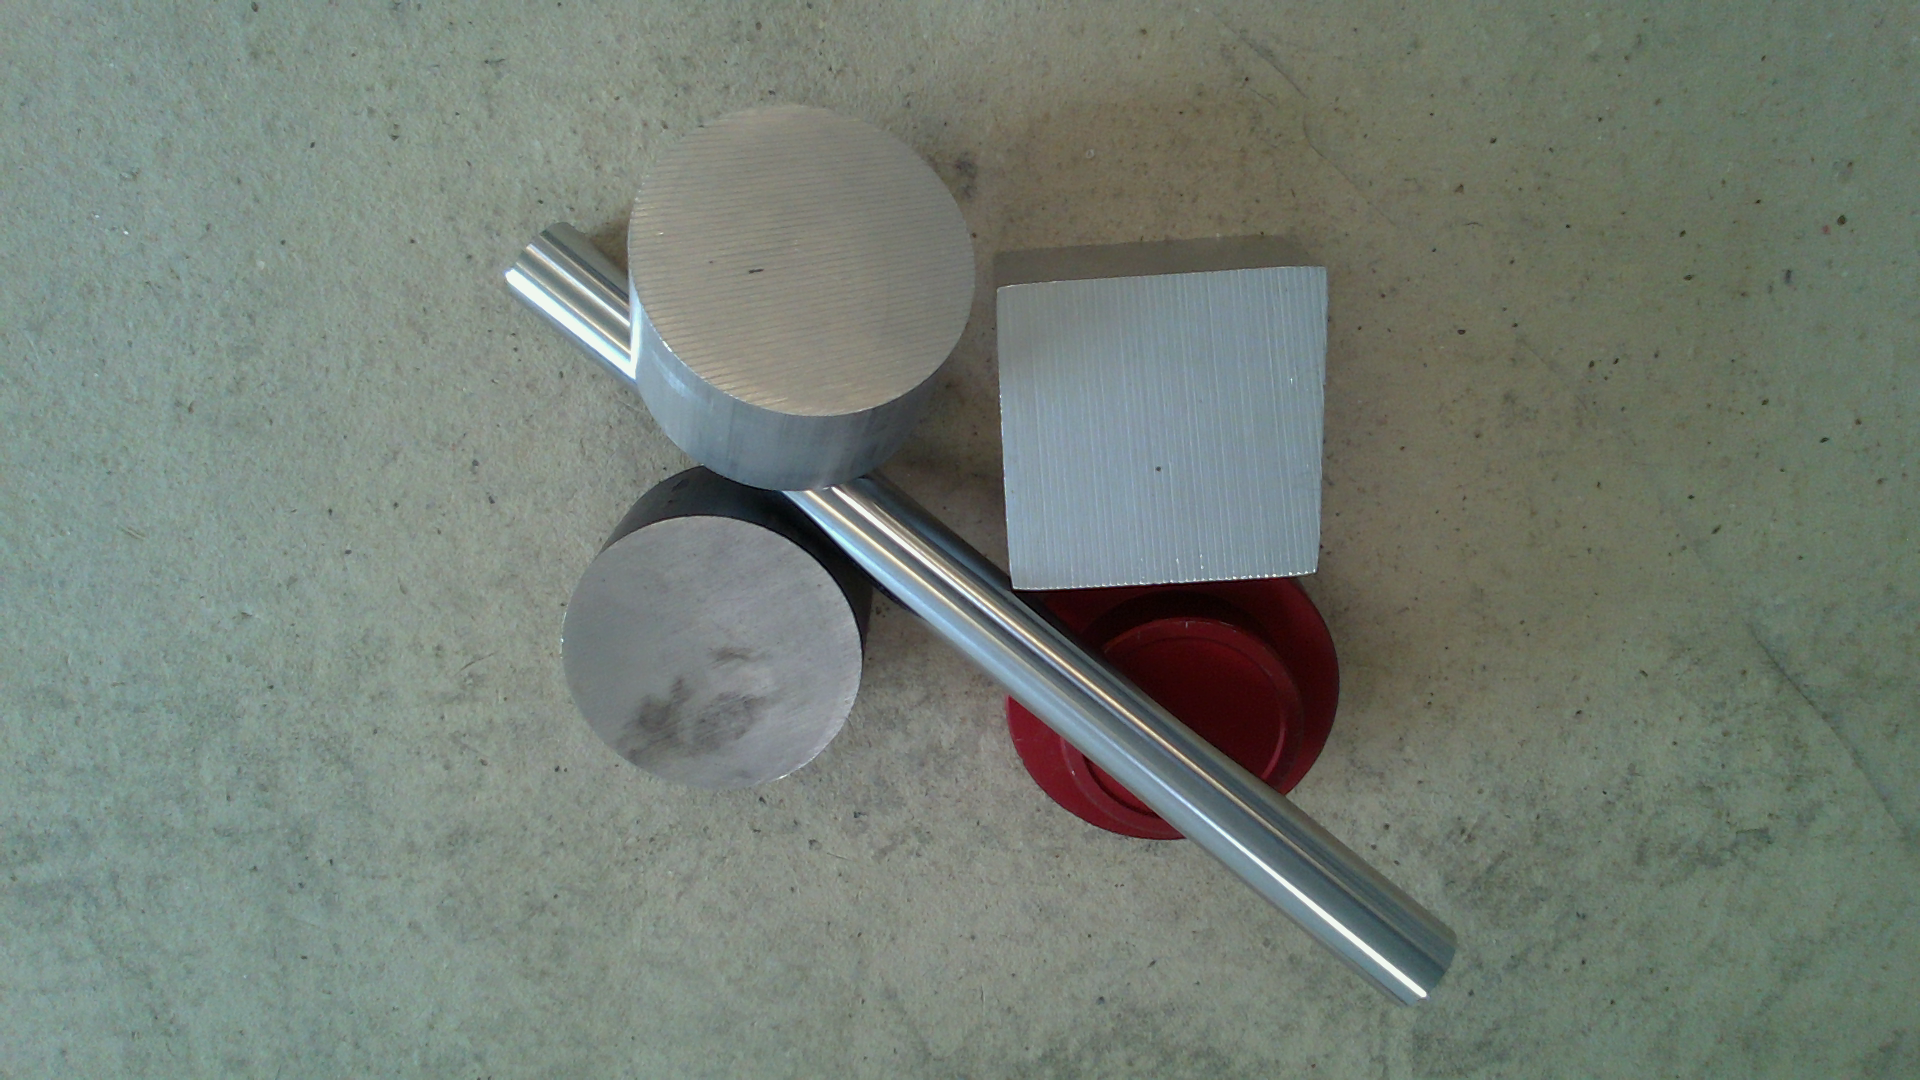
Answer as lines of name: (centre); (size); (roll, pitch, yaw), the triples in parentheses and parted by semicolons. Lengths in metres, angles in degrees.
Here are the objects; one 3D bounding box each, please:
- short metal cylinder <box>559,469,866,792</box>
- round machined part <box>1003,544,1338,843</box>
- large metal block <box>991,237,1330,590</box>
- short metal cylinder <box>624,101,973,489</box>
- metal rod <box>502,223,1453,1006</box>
short metal cylinder: (-0.067, 0.023, 0.390); (0.080, 0.050, 0.080); (0, 110, 0)
round machined part: (0.062, 0.047, 0.402); (0.098, 0.042, 0.098); (0, 110, 0)
large metal block: (0.051, -0.035, 0.366); (0.080, 0.050, 0.080); (-3, 110, 1)
short metal cylinder: (-0.042, -0.059, 0.339); (0.080, 0.050, 0.080); (4, 72, -13)
metal rod: (0.004, 0.019, 0.365); (0.300, 0.025, 0.025); (39, 106, 1)
